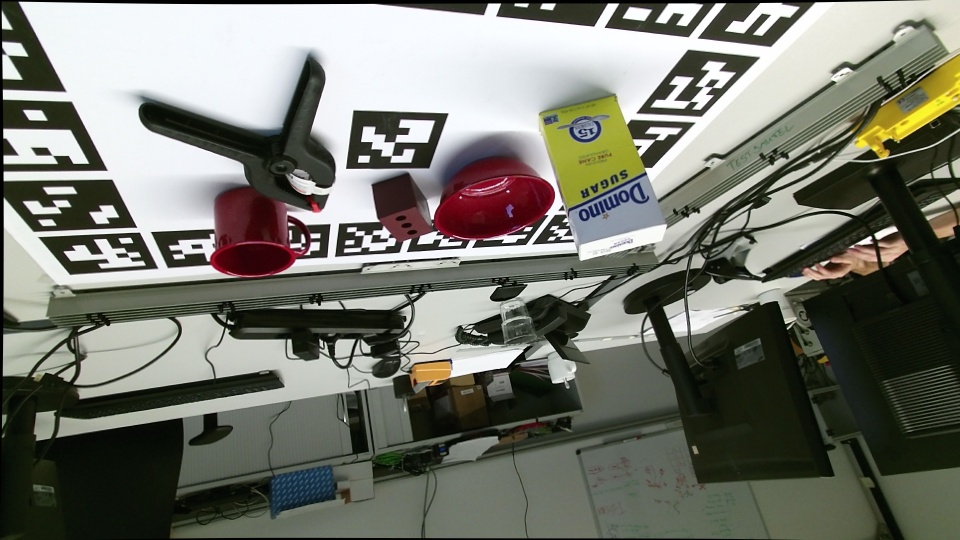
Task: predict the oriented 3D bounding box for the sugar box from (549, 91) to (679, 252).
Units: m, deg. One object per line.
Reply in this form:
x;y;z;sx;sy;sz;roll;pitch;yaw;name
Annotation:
0.144;-0.114;0.598;0.093;0.175;0.045;-15;152;3;sugar box

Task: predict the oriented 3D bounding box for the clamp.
-0.195;-0.117;0.561;0.166;0.036;0.203;-17;153;0;clamp

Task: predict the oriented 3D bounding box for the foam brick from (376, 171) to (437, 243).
-0.094;-0.080;0.695;0.053;0.051;0.078;-18;153;4;foam brick

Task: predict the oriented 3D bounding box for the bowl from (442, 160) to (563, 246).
0.025;-0.095;0.709;0.162;0.055;0.162;-11;154;-5;bowl

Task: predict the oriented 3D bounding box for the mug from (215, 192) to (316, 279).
-0.255;-0.036;0.649;0.117;0.081;0.093;15;142;-40;mug
